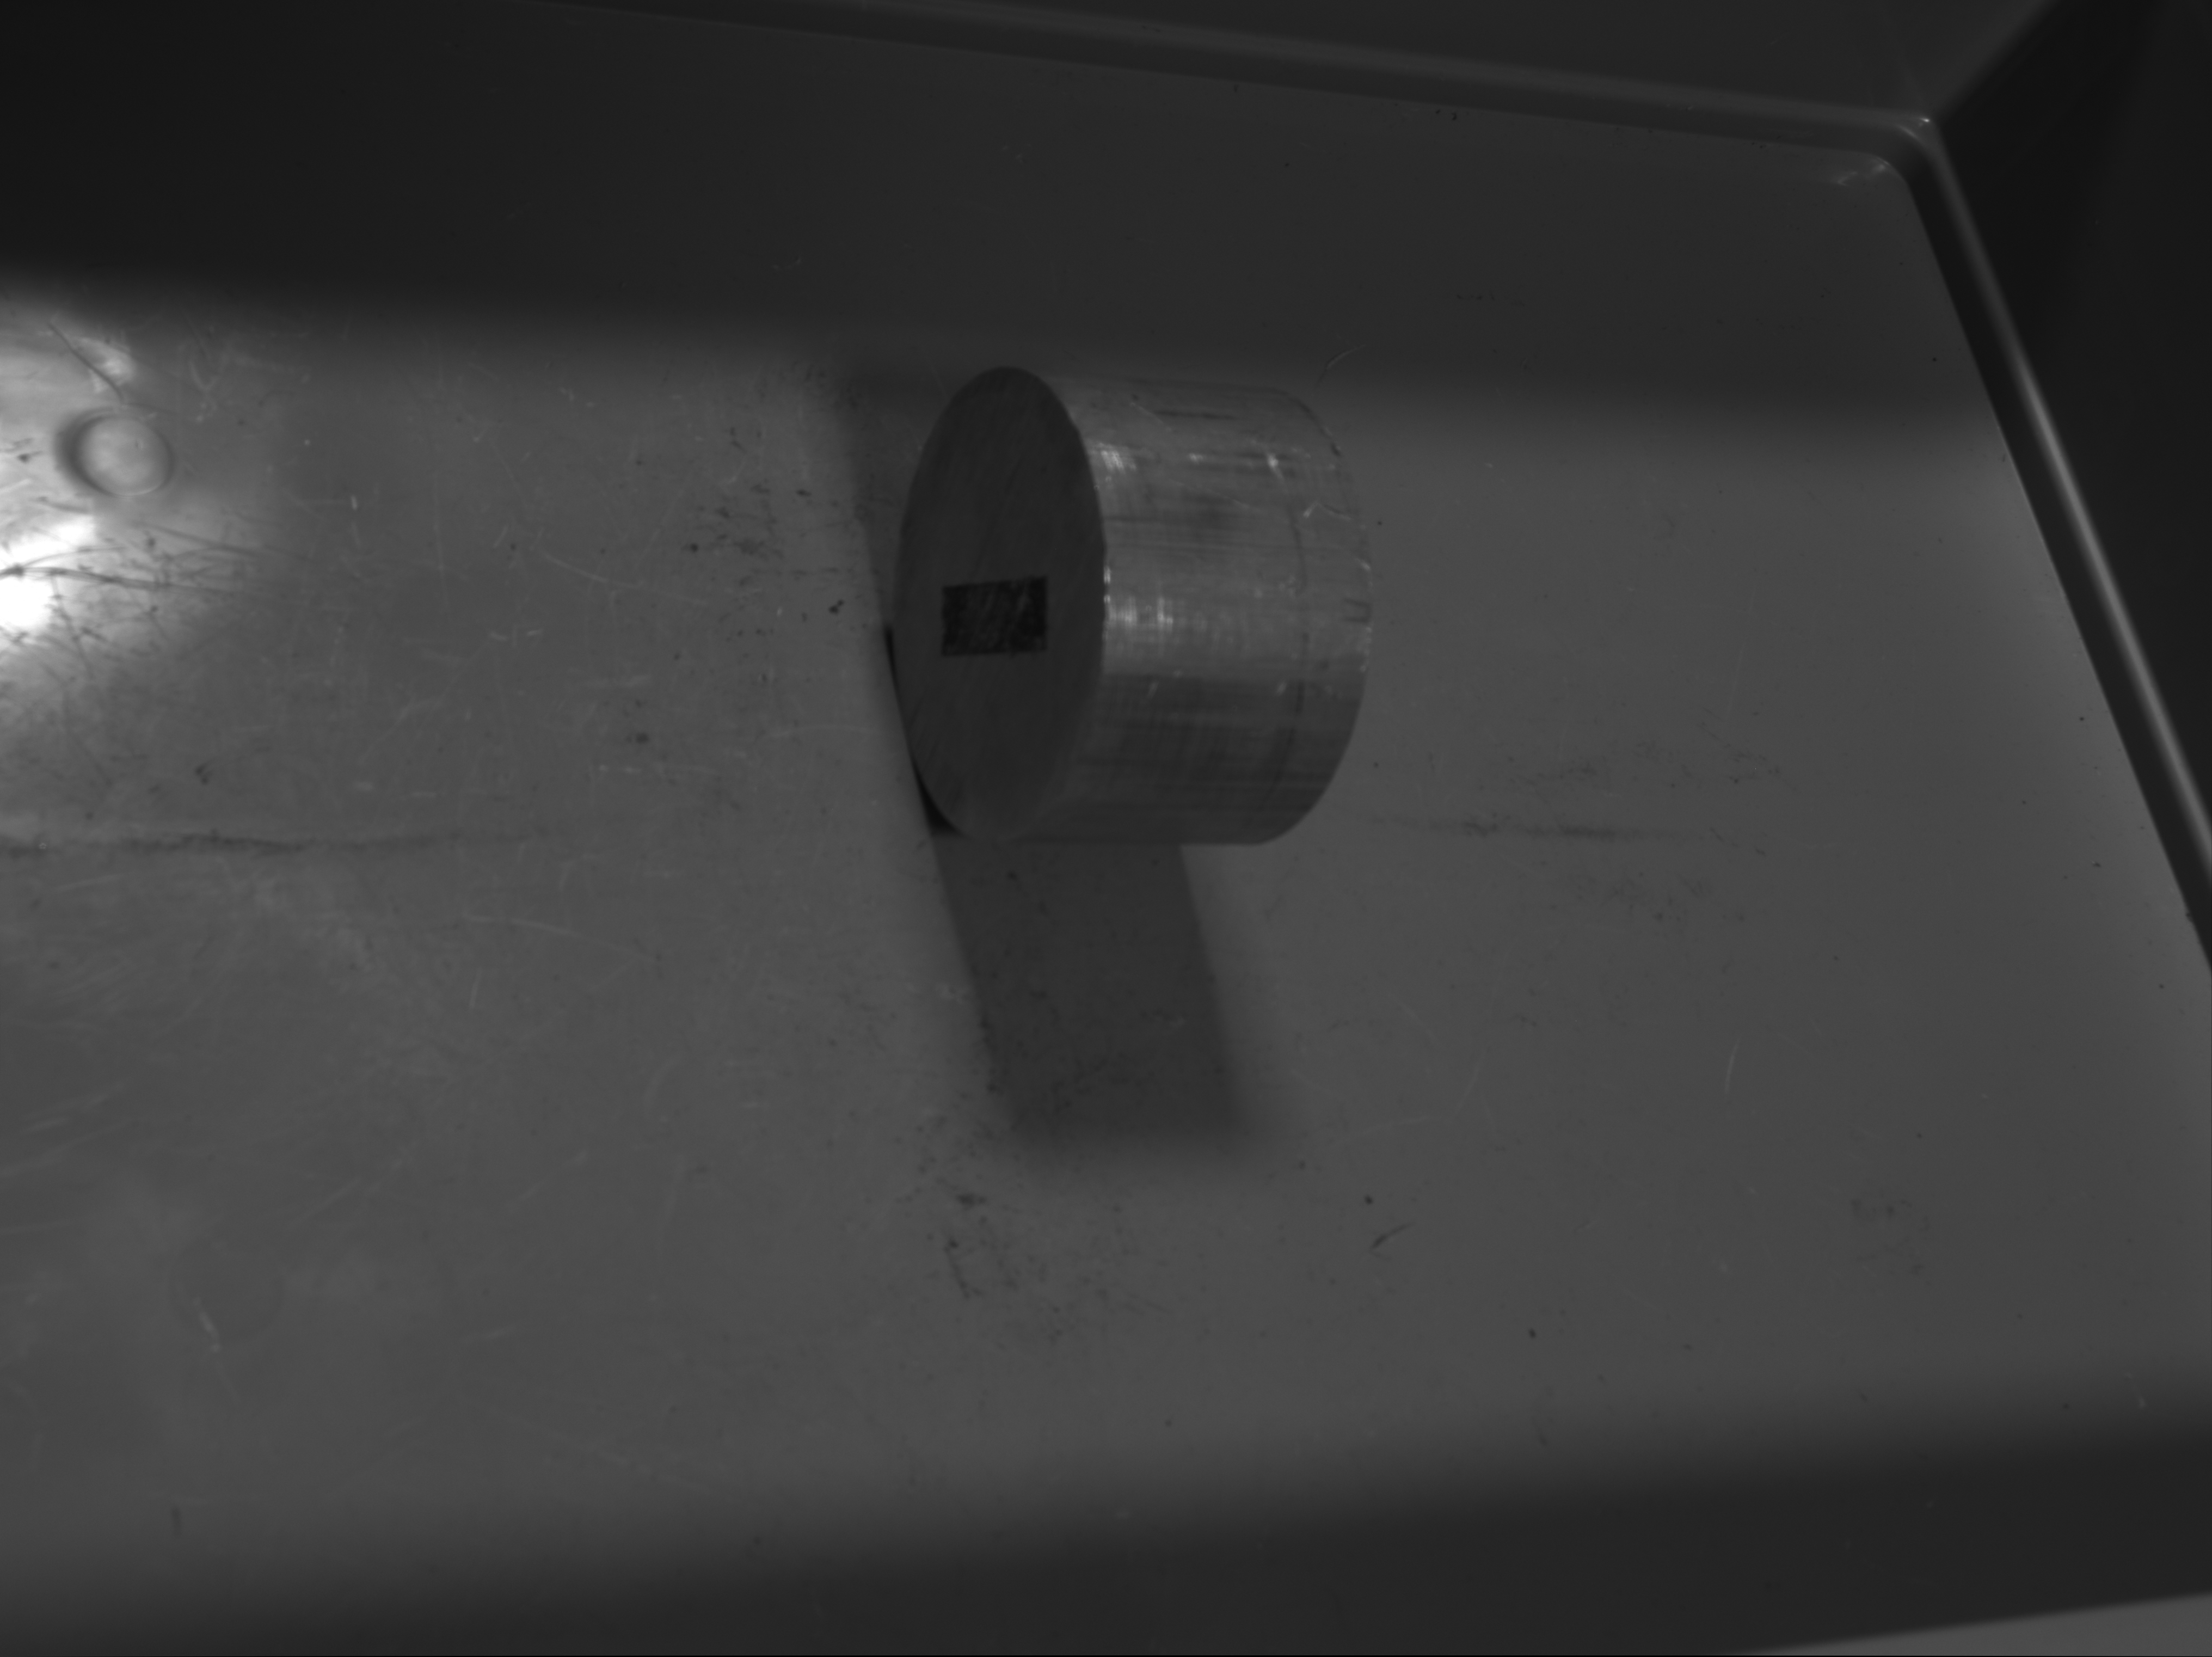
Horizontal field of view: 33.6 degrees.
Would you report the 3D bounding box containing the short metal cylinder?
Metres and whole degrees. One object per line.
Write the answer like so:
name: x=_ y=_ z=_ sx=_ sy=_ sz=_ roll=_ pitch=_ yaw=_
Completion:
short metal cylinder: x=0.005 y=-0.037 z=0.628 sx=0.050 sy=0.080 sz=0.080 roll=0 pitch=61 yaw=-28
